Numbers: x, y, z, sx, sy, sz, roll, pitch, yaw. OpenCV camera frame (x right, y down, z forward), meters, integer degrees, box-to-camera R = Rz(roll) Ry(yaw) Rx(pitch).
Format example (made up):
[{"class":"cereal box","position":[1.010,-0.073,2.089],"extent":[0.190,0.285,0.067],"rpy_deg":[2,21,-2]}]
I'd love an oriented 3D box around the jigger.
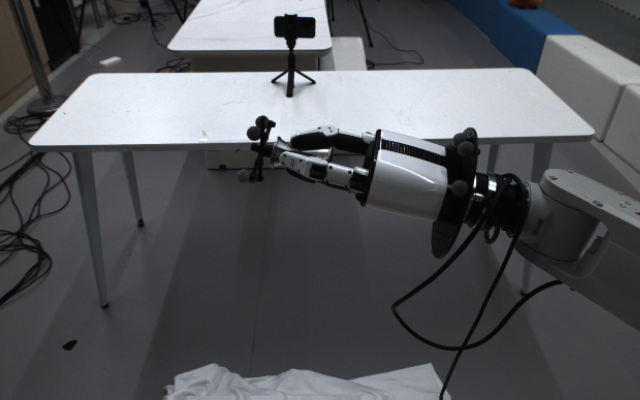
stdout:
[{"class":"jigger","position":[-0.015,-0.053,0.585],"extent":[0.071,0.043,0.043],"rpy_deg":[12,36,5]}]
